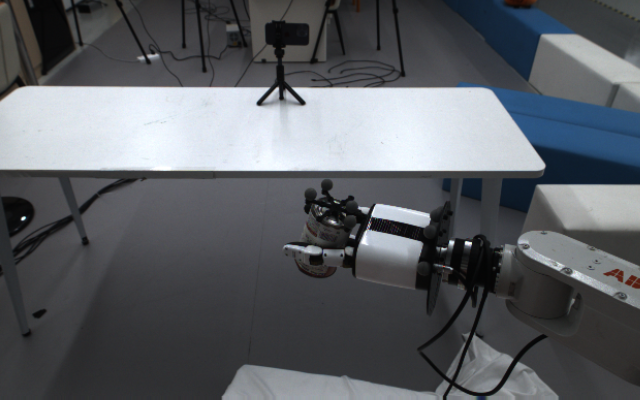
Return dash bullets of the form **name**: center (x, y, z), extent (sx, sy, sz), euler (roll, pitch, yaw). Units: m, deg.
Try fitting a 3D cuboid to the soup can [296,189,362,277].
- **soup can**: center (0.007, 0.055, 0.704), extent (0.067, 0.101, 0.067), euler (13, 35, -9)
